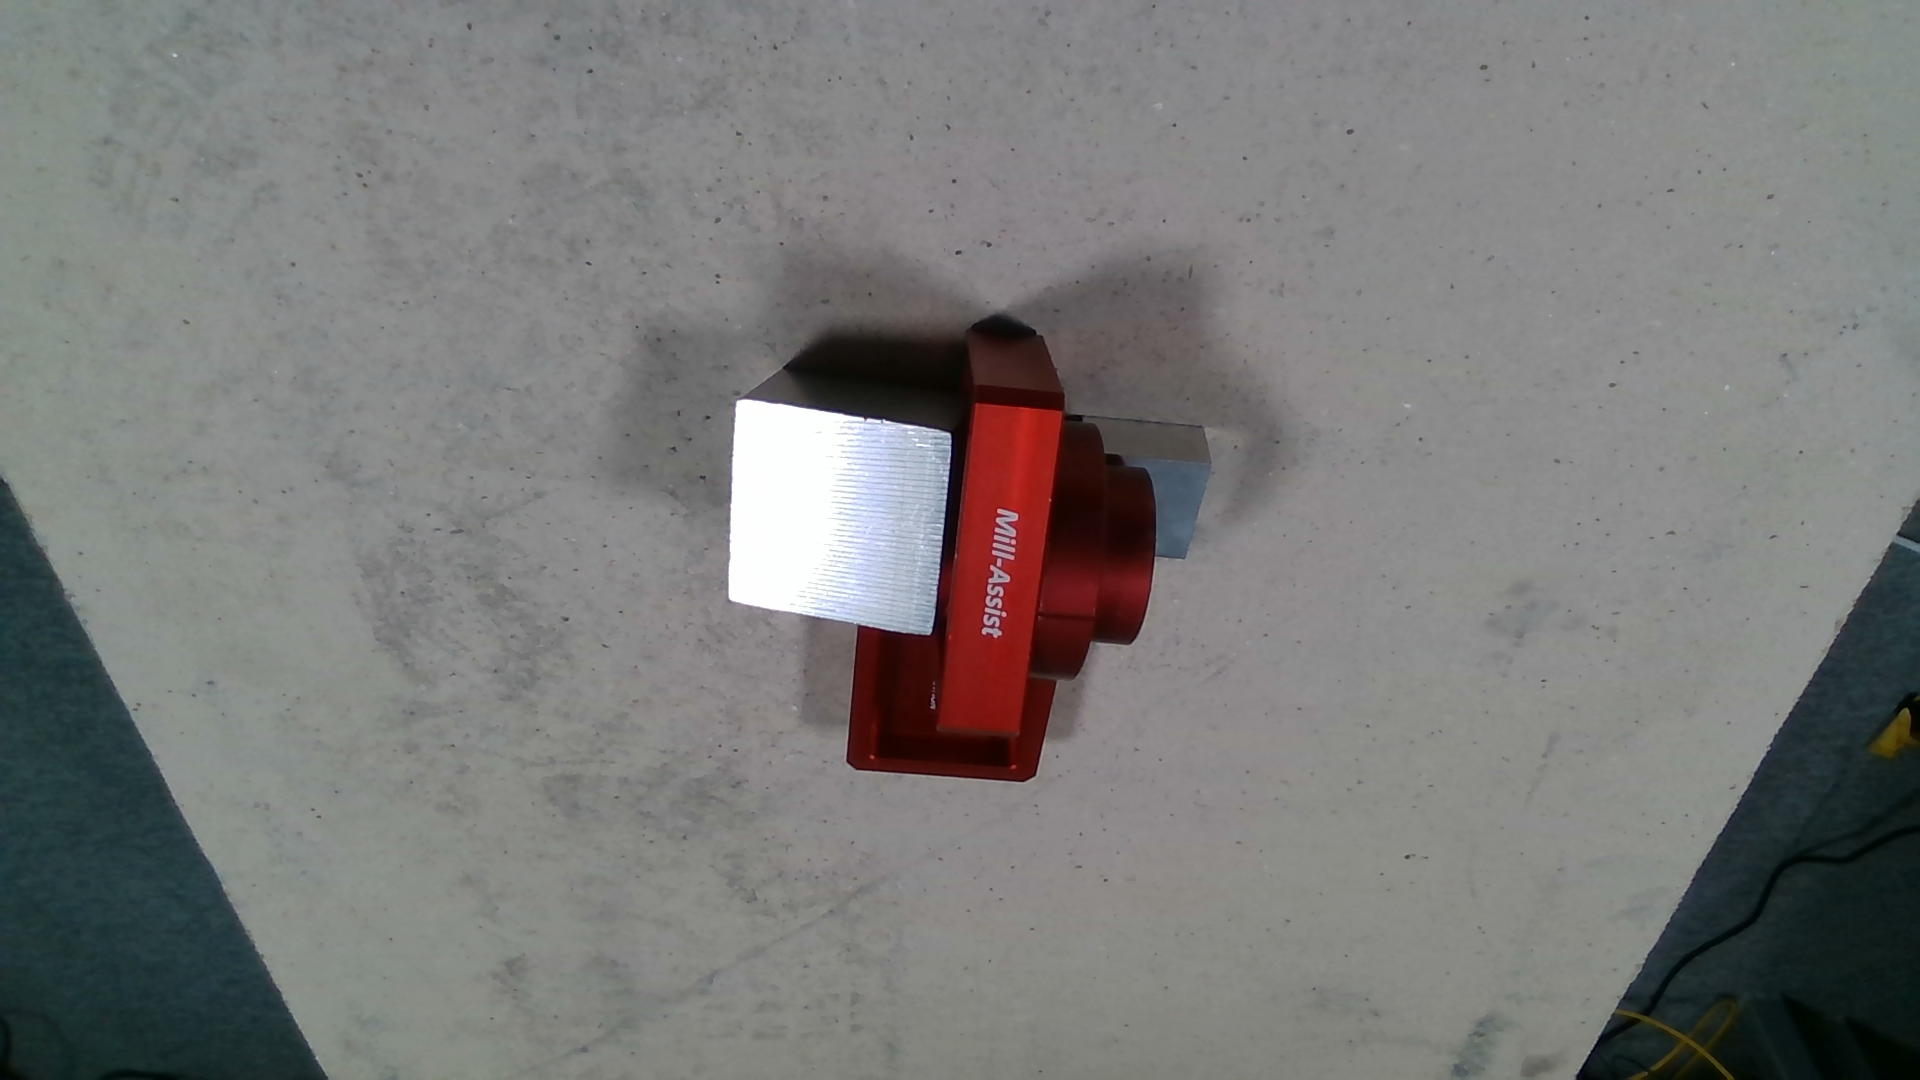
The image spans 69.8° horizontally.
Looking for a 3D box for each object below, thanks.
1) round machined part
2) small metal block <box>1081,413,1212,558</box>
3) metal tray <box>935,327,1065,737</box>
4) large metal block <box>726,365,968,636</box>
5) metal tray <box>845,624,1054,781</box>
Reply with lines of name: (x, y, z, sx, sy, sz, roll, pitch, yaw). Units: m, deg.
round machined part: (0.046, 0.005, 0.522, 0.042, 0.098, 0.098, 5, 130, -4)
small metal block: (0.071, -0.022, 0.562, 0.050, 0.025, 0.050, 5, 130, -4)
metal tray: (0.012, -0.005, 0.511, 0.030, 0.090, 0.130, 5, 111, -4)
large metal block: (-0.041, -0.016, 0.525, 0.080, 0.050, 0.080, 10, 112, 8)
metal tray: (-0.002, 0.052, 0.620, 0.090, 0.030, 0.130, 5, 130, -4)
